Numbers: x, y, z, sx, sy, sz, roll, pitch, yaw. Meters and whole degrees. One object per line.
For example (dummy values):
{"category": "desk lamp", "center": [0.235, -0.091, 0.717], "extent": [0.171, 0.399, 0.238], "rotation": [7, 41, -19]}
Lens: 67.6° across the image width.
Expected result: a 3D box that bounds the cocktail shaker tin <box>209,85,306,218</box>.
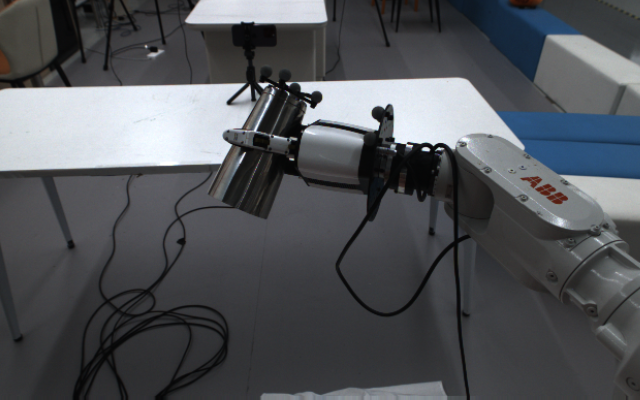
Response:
{"category": "cocktail shaker tin", "center": [-0.081, -0.072, 0.682], "extent": [0.093, 0.170, 0.093], "rotation": [23, 0, 0]}
